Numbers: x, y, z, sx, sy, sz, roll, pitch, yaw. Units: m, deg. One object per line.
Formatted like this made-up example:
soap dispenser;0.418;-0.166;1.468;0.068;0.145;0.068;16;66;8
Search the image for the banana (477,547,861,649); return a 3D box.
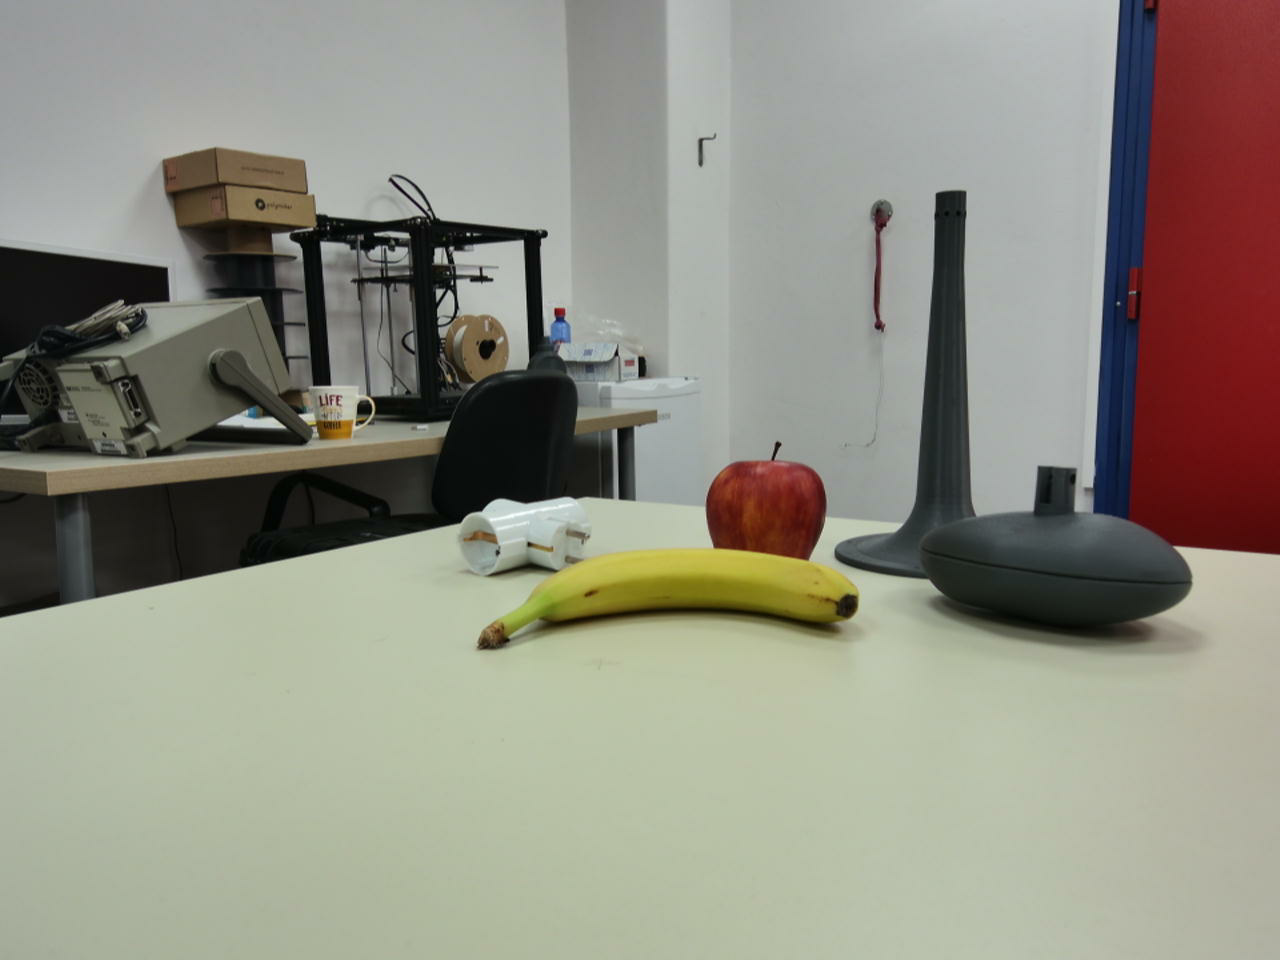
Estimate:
banana;0.016;0.061;0.554;0.196;0.041;0.094;1;5;0
